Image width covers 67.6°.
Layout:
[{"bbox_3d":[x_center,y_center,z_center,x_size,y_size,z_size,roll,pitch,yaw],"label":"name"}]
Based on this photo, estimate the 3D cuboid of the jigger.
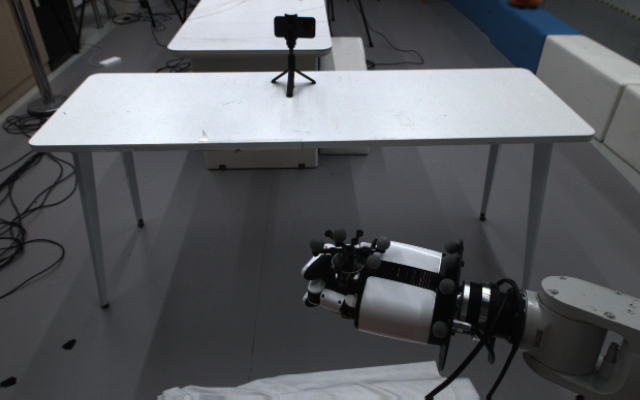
[{"bbox_3d":[0.035,0.102,0.612,0.043,0.071,0.043,4,31,-2],"label":"jigger"}]
